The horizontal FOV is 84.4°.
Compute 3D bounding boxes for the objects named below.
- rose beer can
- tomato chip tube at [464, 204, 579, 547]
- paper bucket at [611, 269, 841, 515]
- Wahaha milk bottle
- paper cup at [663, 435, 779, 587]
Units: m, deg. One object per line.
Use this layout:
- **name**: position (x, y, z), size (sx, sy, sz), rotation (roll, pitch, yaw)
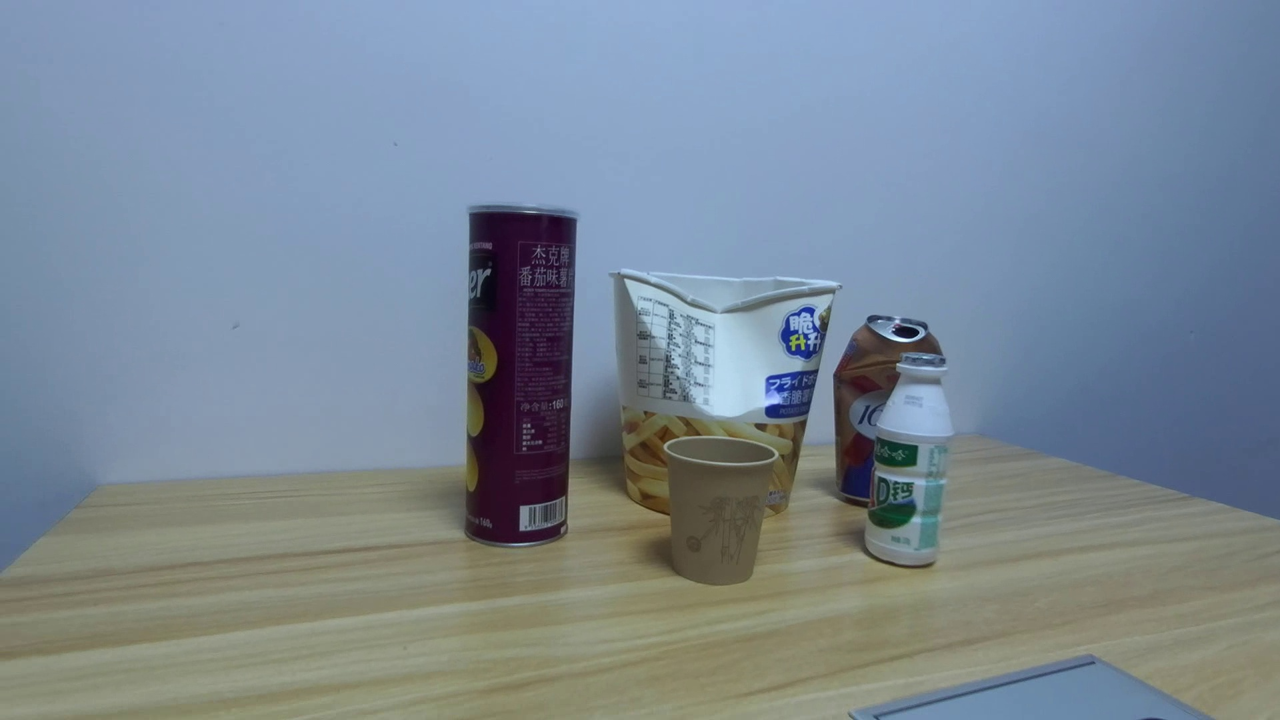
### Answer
- **rose beer can**: position (0.218, 0.046, 0.631), size (0.069, 0.168, 0.069), rotation (-9, 17, -37)
- **tomato chip tube**: position (-0.086, 0.011, 0.514), size (0.078, 0.233, 0.078), rotation (3, 7, 0)
- **paper bucket**: position (0.056, 0.024, 0.615), size (0.163, 0.202, 0.168), rotation (-1, 6, -22)
- **Wahaha milk bottle**: position (0.192, 0.069, 0.499), size (0.053, 0.147, 0.053), rotation (3, 7, 0)
- **paper cup**: position (0.051, 0.098, 0.464), size (0.075, 0.082, 0.075), rotation (3, 8, 0)
